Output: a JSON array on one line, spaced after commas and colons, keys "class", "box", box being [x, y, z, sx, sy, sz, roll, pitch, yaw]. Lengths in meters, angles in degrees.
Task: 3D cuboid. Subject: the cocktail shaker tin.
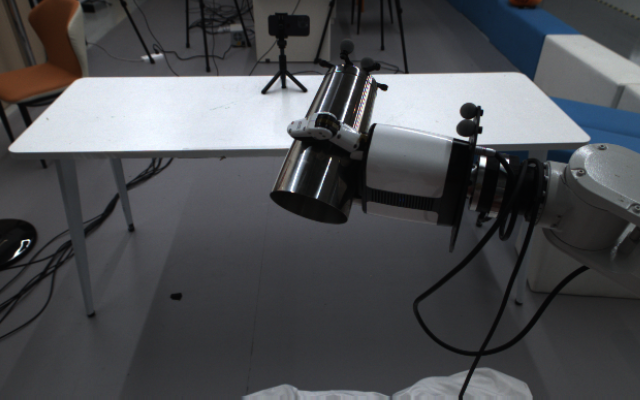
[{"class": "cocktail shaker tin", "box": [0.014, -0.067, 0.563, 0.093, 0.093, 0.170, 14, 73, 16]}]
